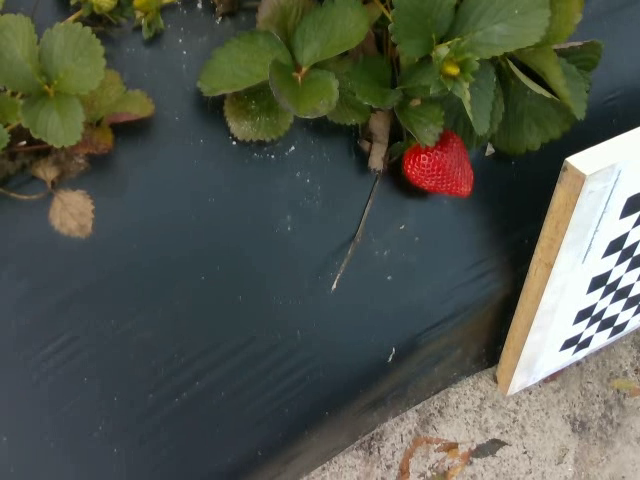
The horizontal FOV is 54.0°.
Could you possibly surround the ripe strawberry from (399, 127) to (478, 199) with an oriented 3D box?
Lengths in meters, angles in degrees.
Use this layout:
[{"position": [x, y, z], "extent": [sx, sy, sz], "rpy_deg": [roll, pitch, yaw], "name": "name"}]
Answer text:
[{"position": [0.064, -0.037, 0.330], "extent": [0.037, 0.046, 0.037], "rpy_deg": [-45, 0, 22], "name": "ripe strawberry"}]
